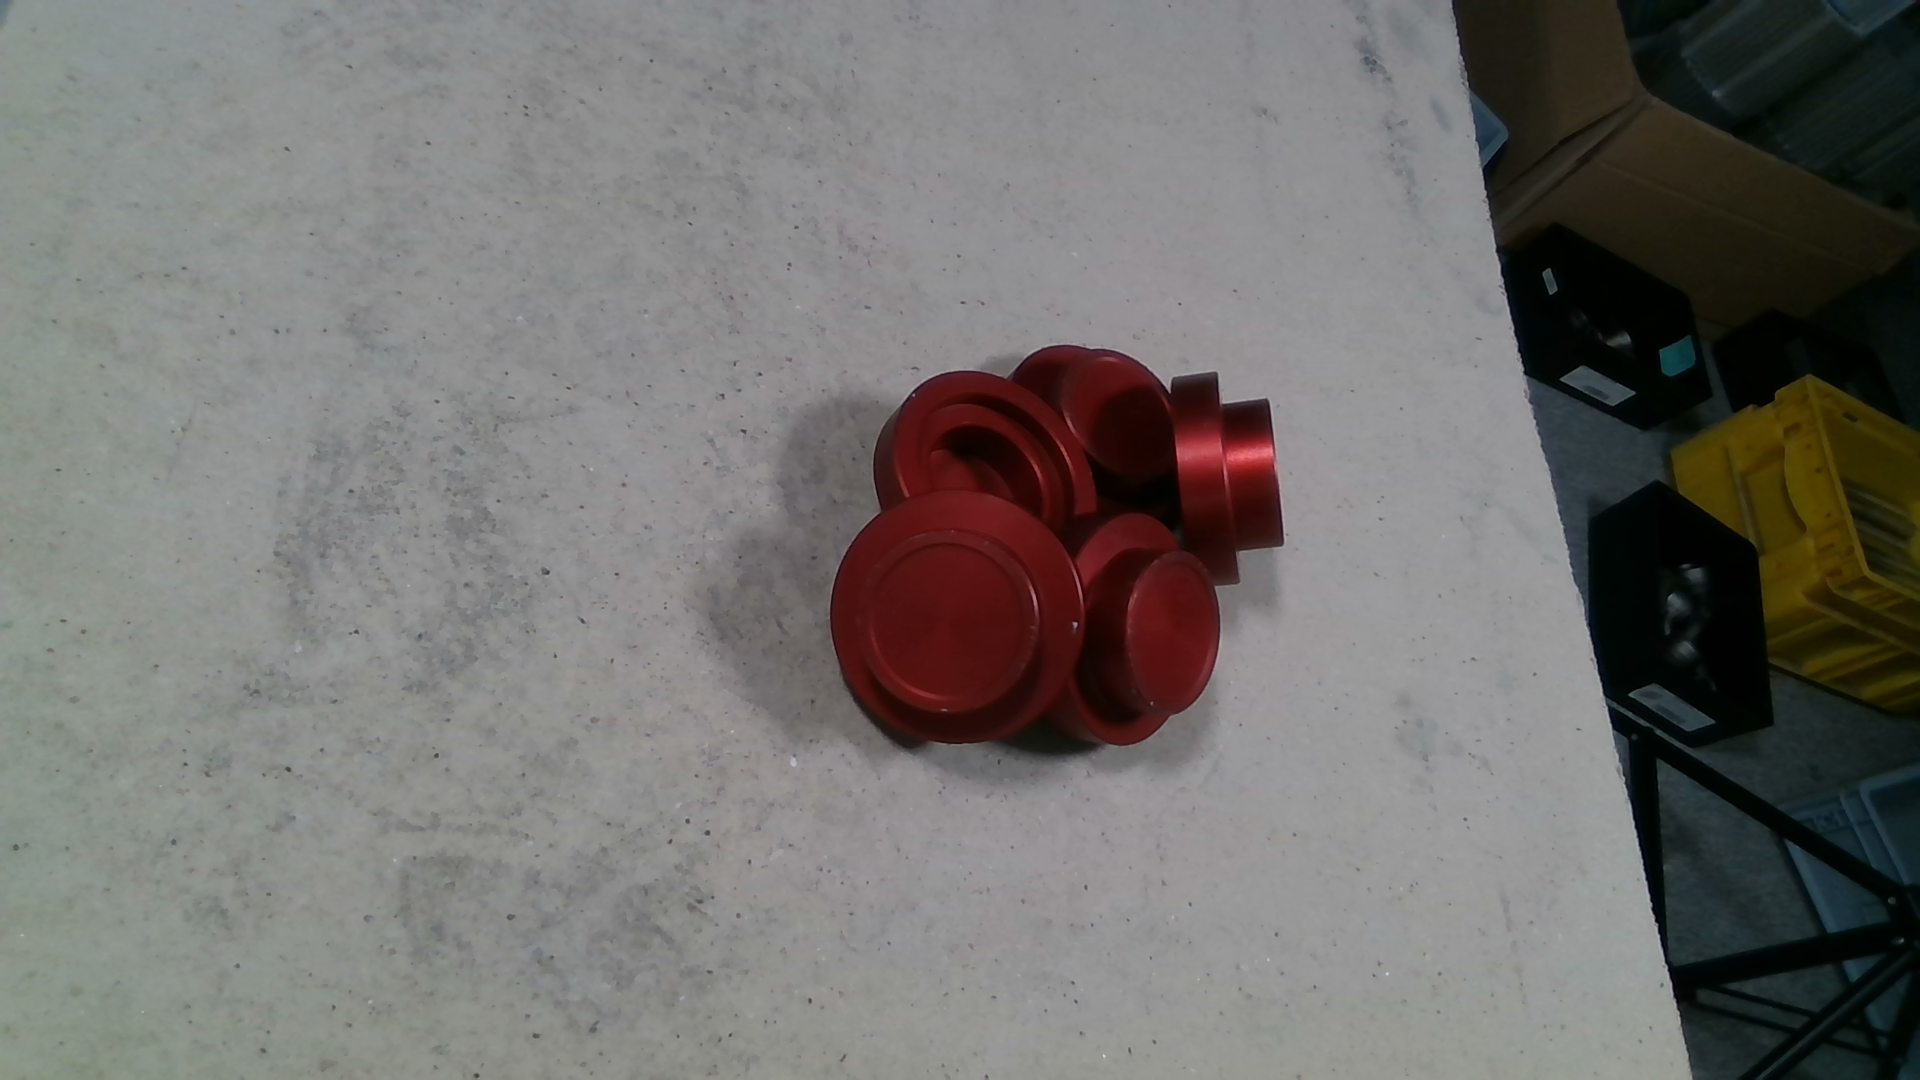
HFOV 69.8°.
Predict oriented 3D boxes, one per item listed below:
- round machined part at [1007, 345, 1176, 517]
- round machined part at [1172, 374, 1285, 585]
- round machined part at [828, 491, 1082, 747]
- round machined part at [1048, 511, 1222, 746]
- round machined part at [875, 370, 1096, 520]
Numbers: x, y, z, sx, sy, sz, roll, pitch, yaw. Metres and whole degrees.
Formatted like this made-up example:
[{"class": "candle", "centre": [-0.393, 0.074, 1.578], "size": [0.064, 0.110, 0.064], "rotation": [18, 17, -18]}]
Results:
[{"class": "round machined part", "centre": [0.064, -0.050, 0.643], "size": [0.098, 0.042, 0.098], "rotation": [14, 59, -25]}, {"class": "round machined part", "centre": [0.124, -0.028, 0.629], "size": [0.042, 0.098, 0.098], "rotation": [-6, 61, 12]}, {"class": "round machined part", "centre": [-0.003, 0.030, 0.521], "size": [0.098, 0.098, 0.042], "rotation": [53, 10, 3]}, {"class": "round machined part", "centre": [0.073, 0.037, 0.572], "size": [0.098, 0.042, 0.098], "rotation": [-4, 95, -48]}, {"class": "round machined part", "centre": [0.006, -0.020, 0.590], "size": [0.098, 0.042, 0.098], "rotation": [14, 59, -25]}]
